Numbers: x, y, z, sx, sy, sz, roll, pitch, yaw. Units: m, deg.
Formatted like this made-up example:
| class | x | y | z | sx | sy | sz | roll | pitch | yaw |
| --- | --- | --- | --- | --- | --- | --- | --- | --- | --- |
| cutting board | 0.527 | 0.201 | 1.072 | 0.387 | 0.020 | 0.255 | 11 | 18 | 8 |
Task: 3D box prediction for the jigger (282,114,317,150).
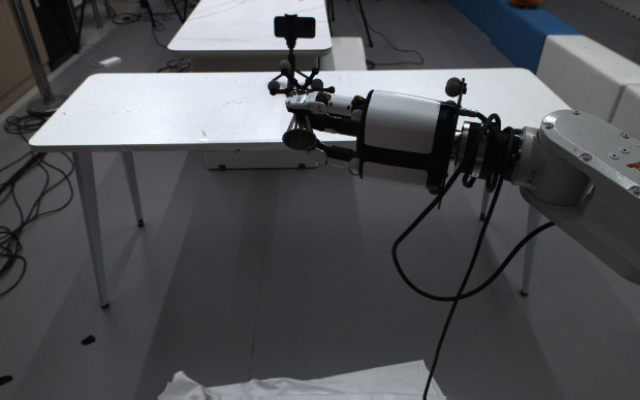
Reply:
| class | x | y | z | sx | sy | sz | roll | pitch | yaw |
| --- | --- | --- | --- | --- | --- | --- | --- | --- | --- |
| jigger | -0.025 | -0.108 | 0.628 | 0.043 | 0.043 | 0.071 | 2 | 59 | -1 |
